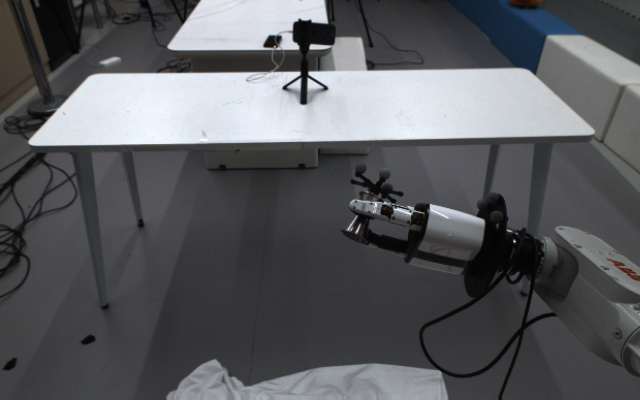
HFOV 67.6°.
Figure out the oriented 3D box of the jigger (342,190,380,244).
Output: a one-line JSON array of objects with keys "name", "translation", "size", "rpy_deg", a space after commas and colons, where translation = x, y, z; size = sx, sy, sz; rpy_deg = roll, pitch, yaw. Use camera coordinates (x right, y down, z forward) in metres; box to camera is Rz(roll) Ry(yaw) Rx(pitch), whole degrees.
[{"name": "jigger", "translation": [0.063, 0.022, 0.719], "size": [0.043, 0.043, 0.071], "rpy_deg": [19, 72, 23]}]
